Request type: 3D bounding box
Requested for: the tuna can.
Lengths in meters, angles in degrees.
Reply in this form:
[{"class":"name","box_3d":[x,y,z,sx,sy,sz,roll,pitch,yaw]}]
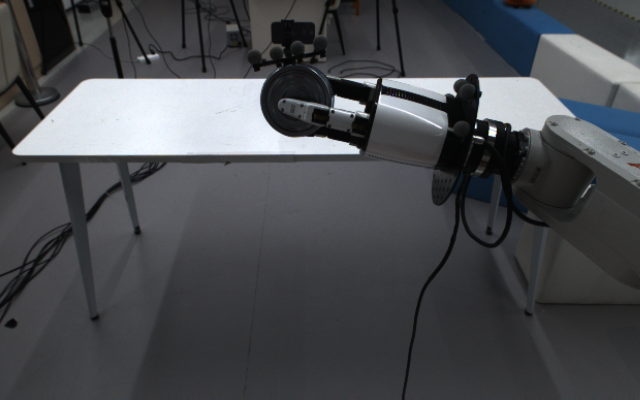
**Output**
[{"class":"tuna can","box_3d":[-0.023,-0.113,0.575,0.085,0.085,0.034,6,18,5]}]
